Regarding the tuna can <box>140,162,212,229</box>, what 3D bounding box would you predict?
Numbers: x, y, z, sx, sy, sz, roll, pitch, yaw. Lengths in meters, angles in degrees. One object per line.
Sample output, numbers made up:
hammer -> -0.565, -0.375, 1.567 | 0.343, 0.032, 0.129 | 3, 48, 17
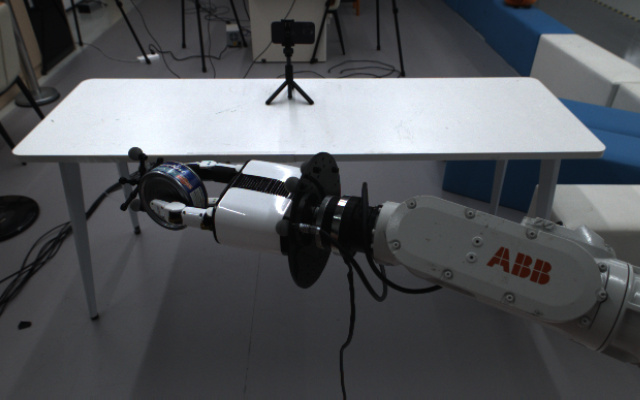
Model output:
tuna can -> -0.187, -0.008, 0.622 | 0.085, 0.085, 0.034 | 13, 31, 16
